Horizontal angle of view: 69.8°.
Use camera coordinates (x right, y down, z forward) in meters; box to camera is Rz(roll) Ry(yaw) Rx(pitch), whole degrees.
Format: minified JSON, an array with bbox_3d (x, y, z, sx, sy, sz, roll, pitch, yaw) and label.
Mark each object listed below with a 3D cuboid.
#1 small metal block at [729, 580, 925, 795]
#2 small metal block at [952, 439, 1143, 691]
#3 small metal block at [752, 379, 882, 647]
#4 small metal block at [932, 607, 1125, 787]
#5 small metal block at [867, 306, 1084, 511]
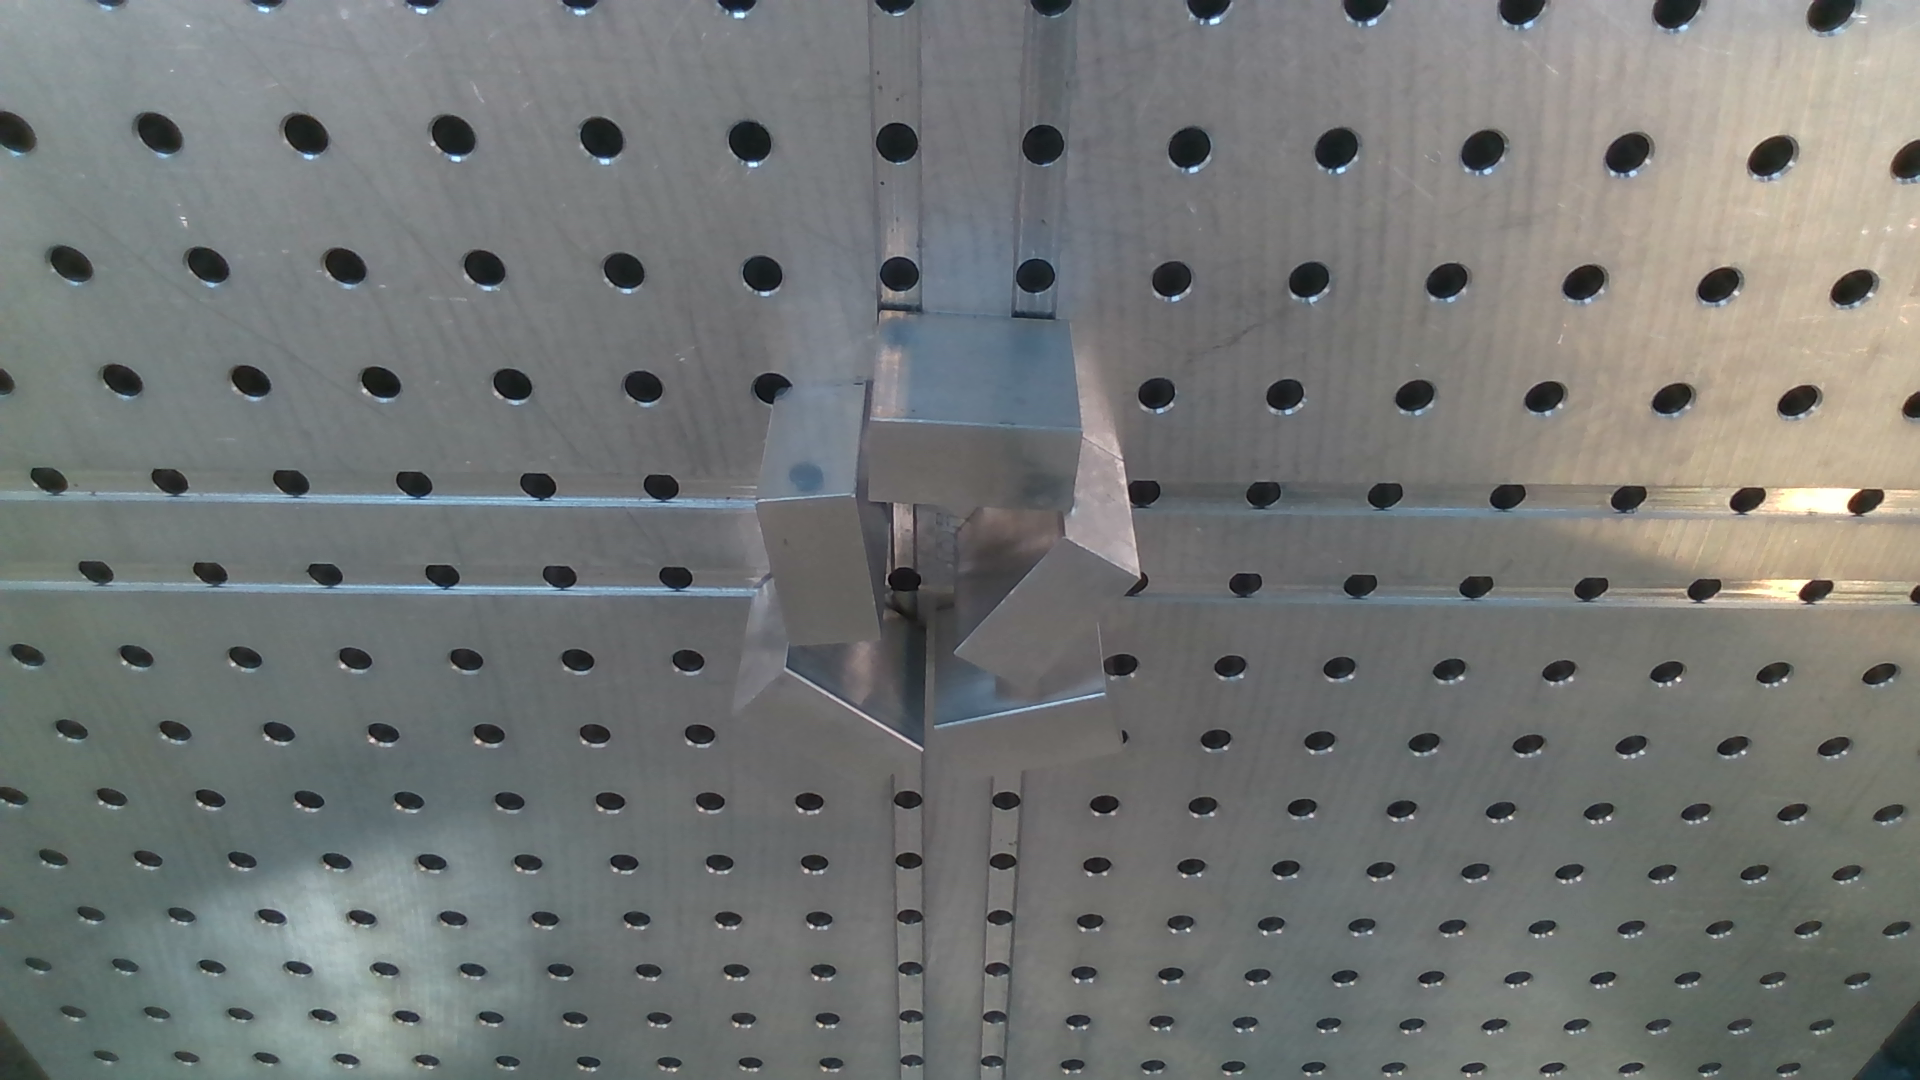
[{"bbox_3d":[-0.038,0.039,0.407,0.050,0.050,0.025,35,121,-26],"label":"small metal block"},{"bbox_3d":[0.022,0.004,0.378,0.025,0.050,0.050,27,125,-20],"label":"small metal block"},{"bbox_3d":[-0.036,-0.008,0.368,0.025,0.050,0.050,-4,130,3],"label":"small metal block"},{"bbox_3d":[0.019,0.041,0.409,0.050,0.050,0.025,-13,129,10],"label":"small metal block"},{"bbox_3d":[0.003,-0.034,0.346,0.050,0.050,0.025,3,130,-2],"label":"small metal block"}]
